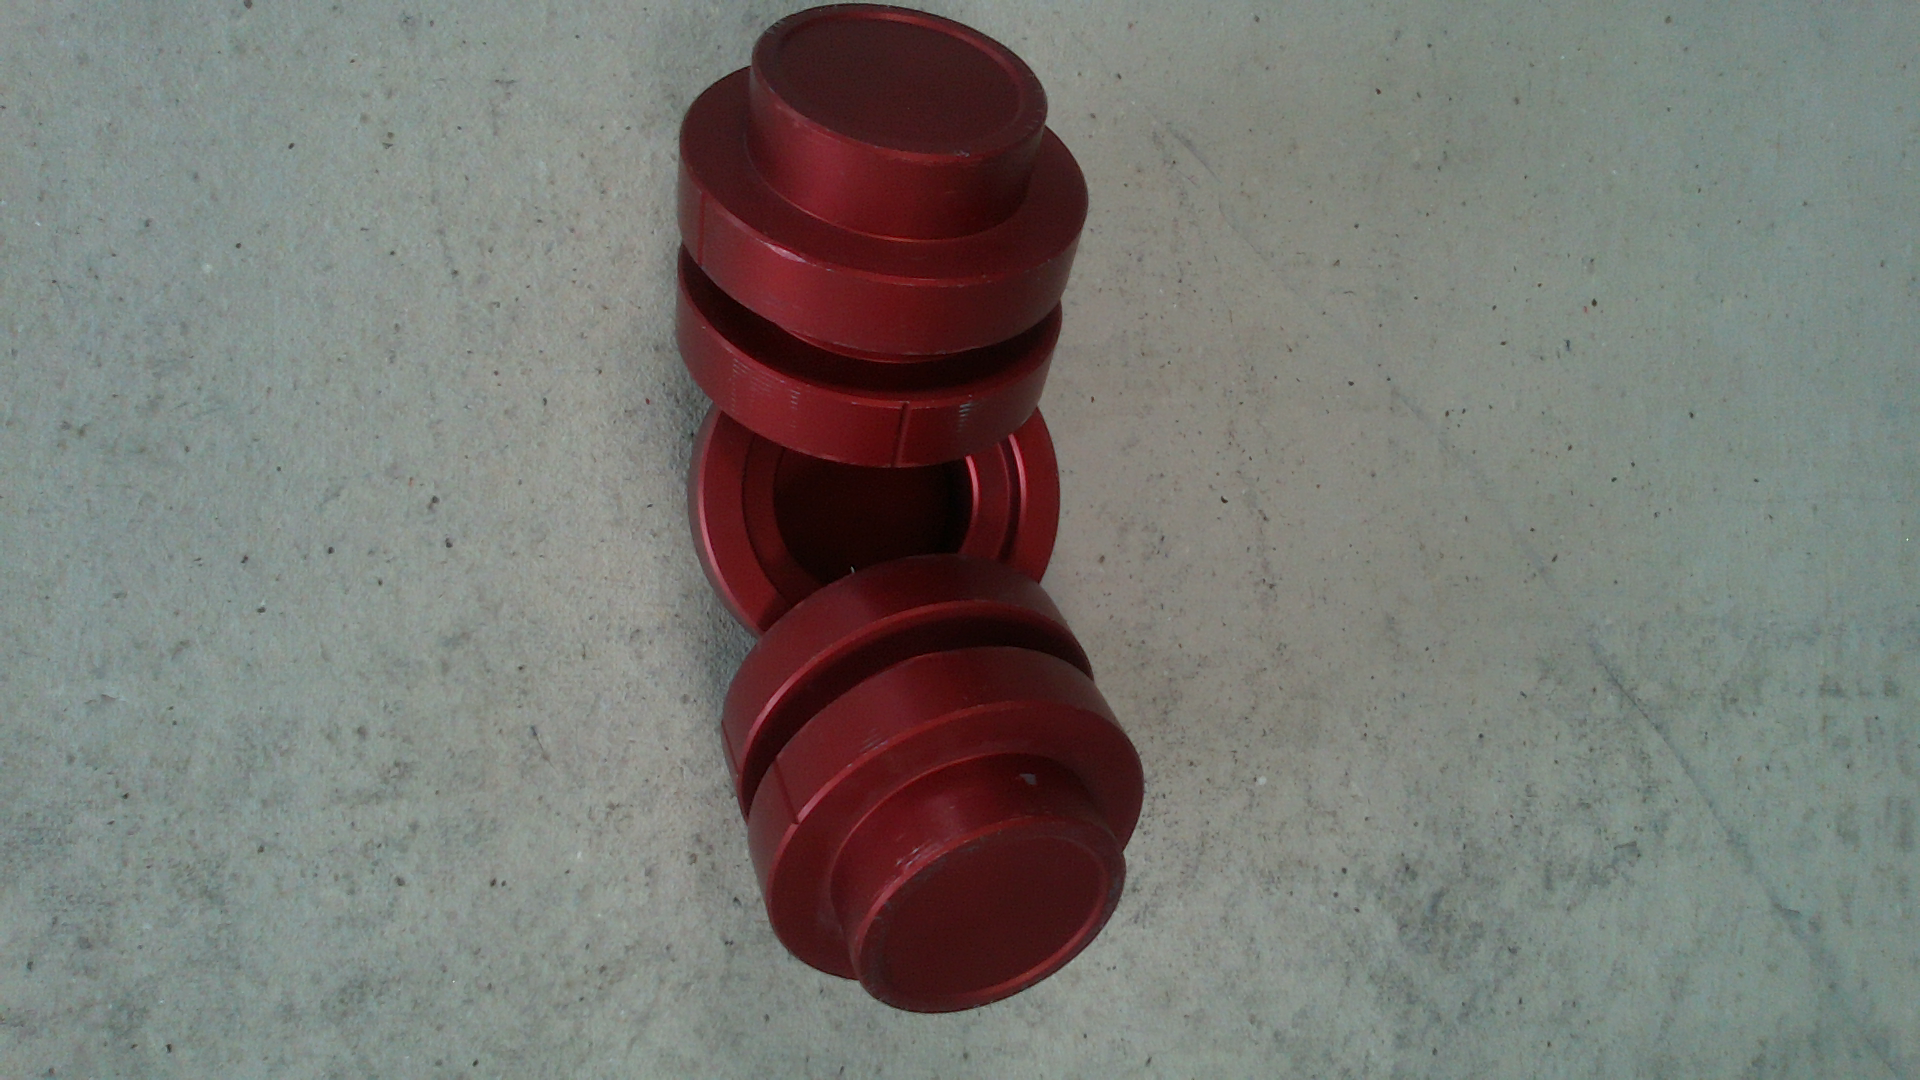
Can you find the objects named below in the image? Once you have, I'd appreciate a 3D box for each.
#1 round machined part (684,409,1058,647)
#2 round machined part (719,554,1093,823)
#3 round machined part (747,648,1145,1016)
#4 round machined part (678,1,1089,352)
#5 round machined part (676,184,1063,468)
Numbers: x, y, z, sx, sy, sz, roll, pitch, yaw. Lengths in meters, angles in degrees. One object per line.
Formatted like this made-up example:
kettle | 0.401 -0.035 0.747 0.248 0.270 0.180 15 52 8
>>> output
round machined part | -0.026 -0.012 0.376 0.098 0.042 0.098 0 90 -20
round machined part | -0.009 0.055 0.355 0.098 0.042 0.098 -13 131 -15
round machined part | 0.001 0.077 0.334 0.098 0.042 0.098 -13 130 -16
round machined part | -0.017 -0.092 0.327 0.098 0.042 0.098 7 46 -8
round machined part | -0.022 -0.067 0.347 0.098 0.042 0.098 8 46 -8
